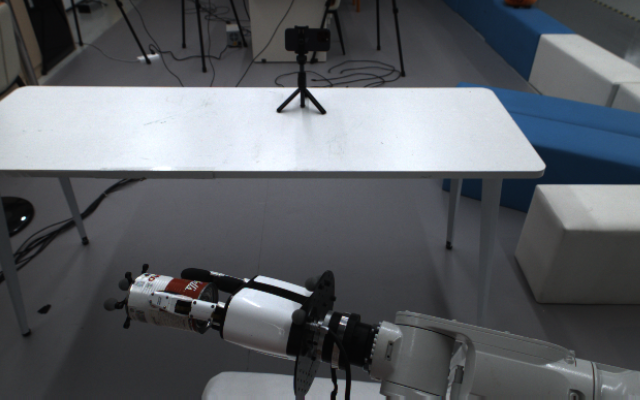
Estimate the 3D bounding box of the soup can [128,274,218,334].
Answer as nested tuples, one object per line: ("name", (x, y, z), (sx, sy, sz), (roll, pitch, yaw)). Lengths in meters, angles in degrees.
("soup can", (-0.195, 0.139, 0.649), (0.101, 0.067, 0.067), (6, 35, 11))
